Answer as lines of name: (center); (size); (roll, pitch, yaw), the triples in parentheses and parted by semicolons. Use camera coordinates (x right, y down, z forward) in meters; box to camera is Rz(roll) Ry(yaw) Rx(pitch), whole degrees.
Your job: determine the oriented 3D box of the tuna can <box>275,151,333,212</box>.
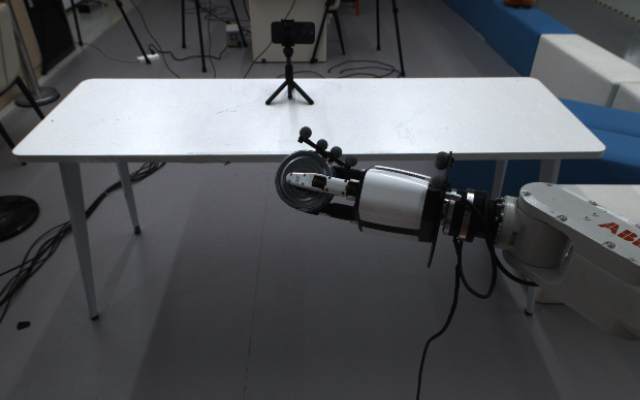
tuna can: (-0.019, -0.028, 0.688); (0.085, 0.085, 0.034); (13, -4, 15)
